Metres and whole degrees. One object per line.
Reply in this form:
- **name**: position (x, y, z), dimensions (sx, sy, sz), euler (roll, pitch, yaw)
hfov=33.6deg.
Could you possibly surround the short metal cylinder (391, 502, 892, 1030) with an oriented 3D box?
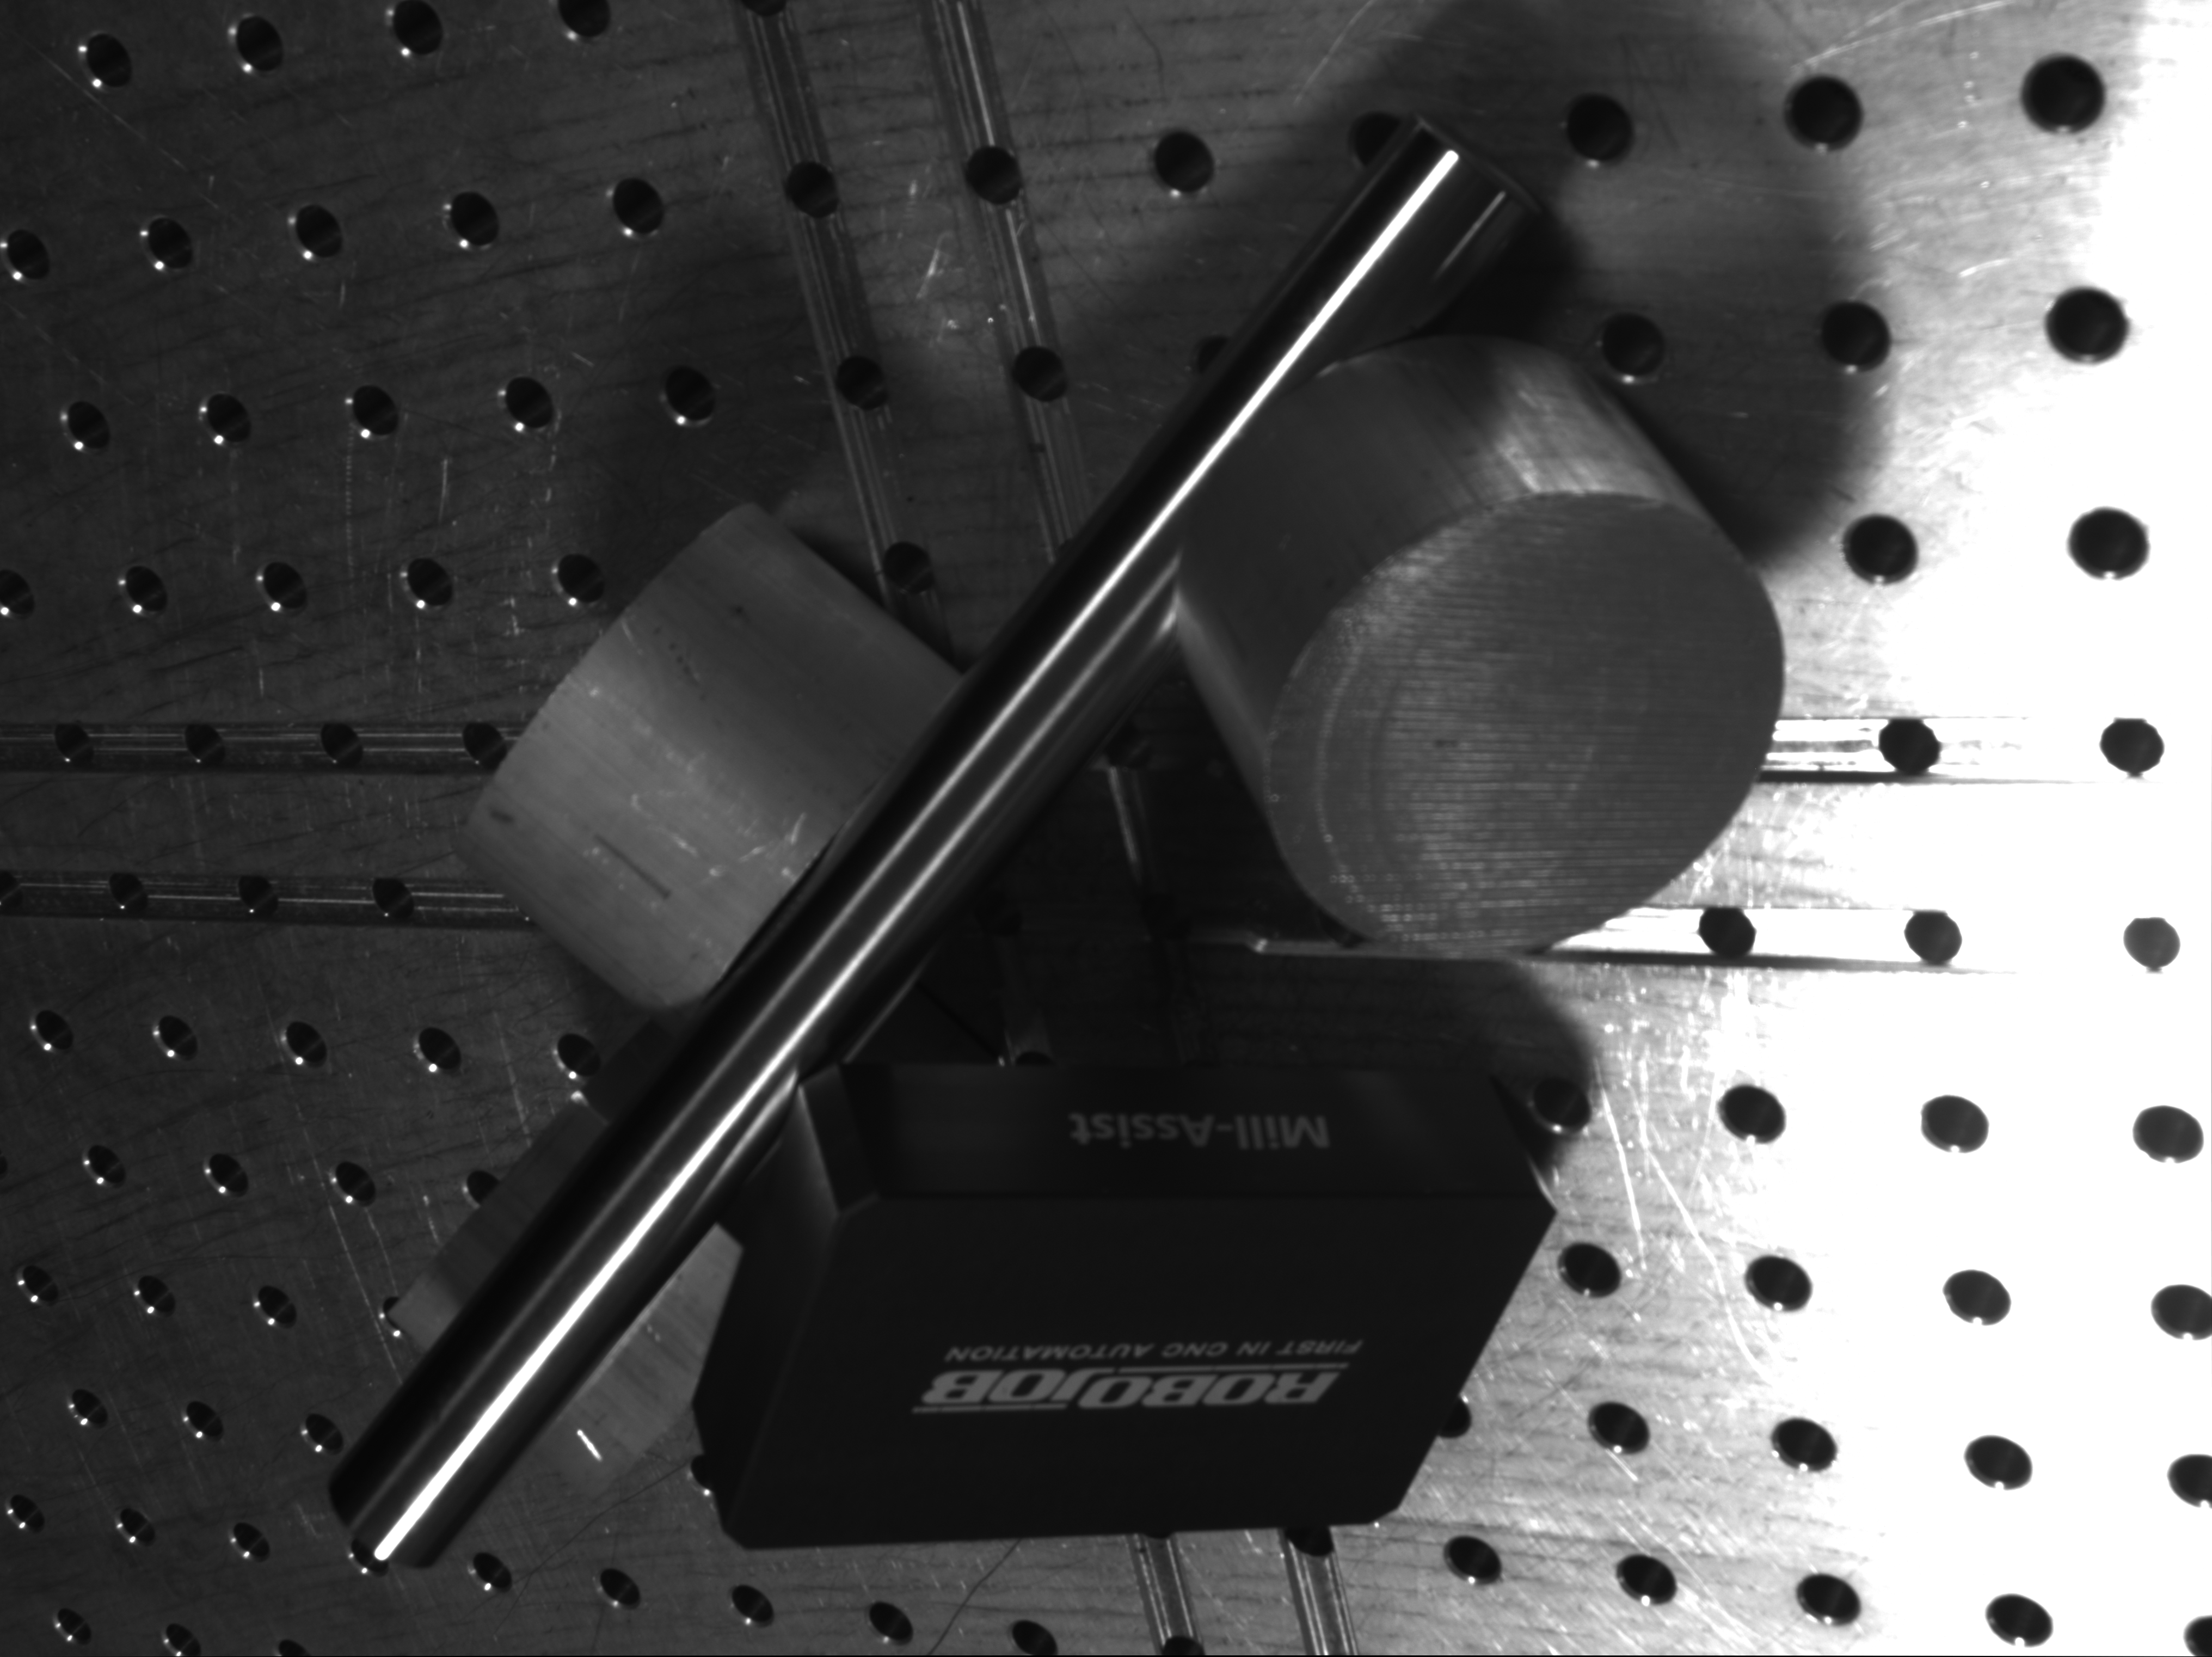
- **short metal cylinder**: position (-0.077, -0.009, 0.632), dimensions (0.050, 0.080, 0.080), euler (40, 128, 0)

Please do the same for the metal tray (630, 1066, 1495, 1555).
- **metal tray**: position (-0.008, 0.084, 0.635), dimensions (0.130, 0.030, 0.090), euler (2, 131, -24)

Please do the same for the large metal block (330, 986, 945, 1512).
- **large metal block**: position (-0.087, 0.068, 0.683), dimensions (0.050, 0.080, 0.080), euler (43, 128, -2)

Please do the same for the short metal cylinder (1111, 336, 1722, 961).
- **short metal cylinder**: position (0.046, -0.027, 0.554), dimensions (0.080, 0.050, 0.080), euler (-9, 126, -13)

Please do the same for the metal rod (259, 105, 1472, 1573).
- **metal rod**: position (-0.046, 0.010, 0.595), dimensions (0.025, 0.025, 0.300), euler (40, 107, 0)
